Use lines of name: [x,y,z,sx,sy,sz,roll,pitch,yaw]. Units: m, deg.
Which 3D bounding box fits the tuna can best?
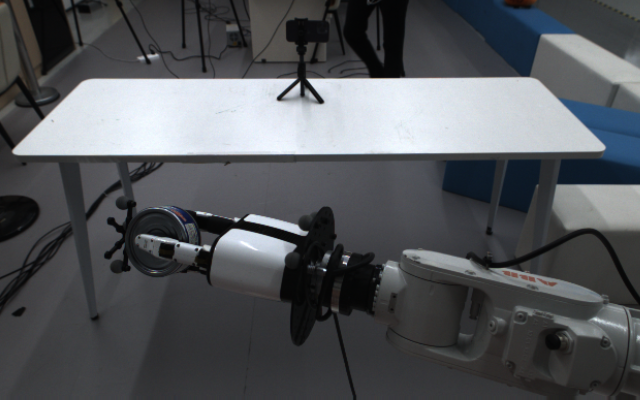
tuna can: [-0.188,0.049,0.588,0.085,0.085,0.034,10,3,11]
